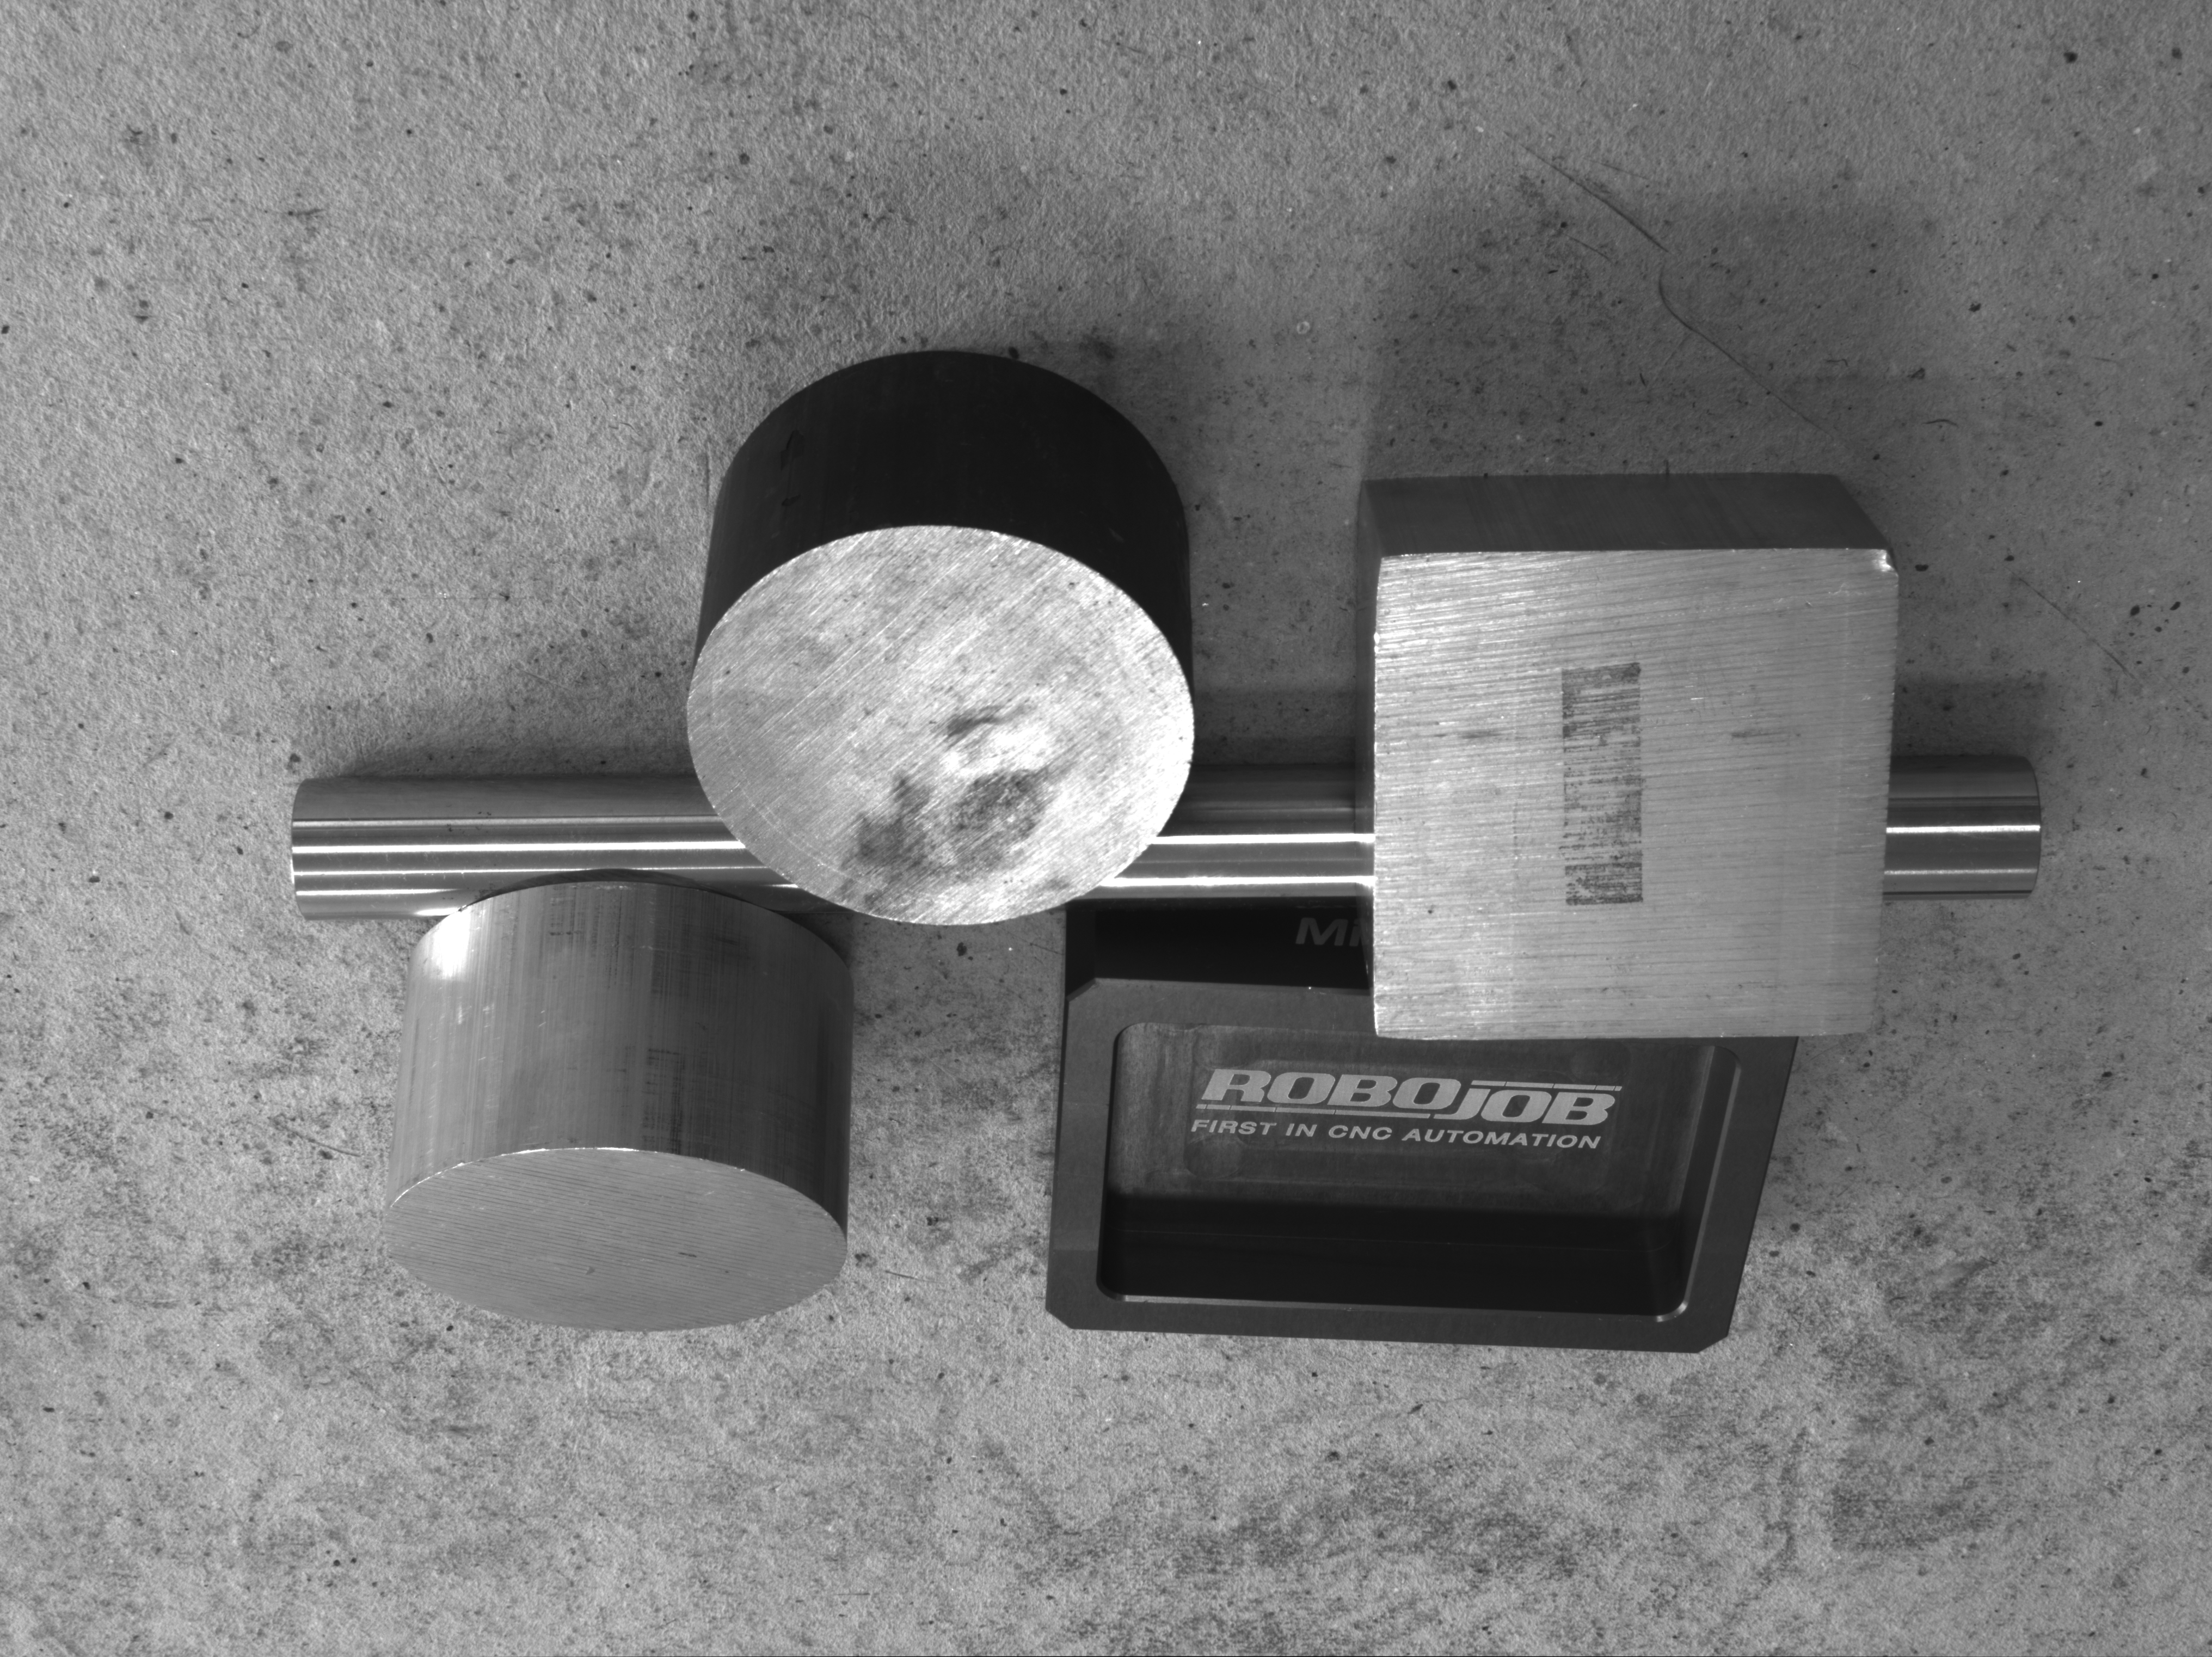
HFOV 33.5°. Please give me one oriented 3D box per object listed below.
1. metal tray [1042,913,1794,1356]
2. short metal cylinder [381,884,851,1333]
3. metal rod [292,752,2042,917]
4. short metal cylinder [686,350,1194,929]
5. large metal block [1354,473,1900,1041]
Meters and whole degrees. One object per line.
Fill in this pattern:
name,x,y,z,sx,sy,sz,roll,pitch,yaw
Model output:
metal tray,0.055,0.055,0.682,0.130,0.030,0.090,2,130,-2
short metal cylinder,-0.086,0.051,0.650,0.080,0.050,0.080,-1,151,0
metal rod,0.010,0.001,0.642,0.300,0.025,0.025,-1,130,0
short metal cylinder,-0.026,-0.030,0.598,0.080,0.050,0.080,0,129,0
large metal block,0.082,-0.012,0.597,0.080,0.050,0.080,-1,109,0
